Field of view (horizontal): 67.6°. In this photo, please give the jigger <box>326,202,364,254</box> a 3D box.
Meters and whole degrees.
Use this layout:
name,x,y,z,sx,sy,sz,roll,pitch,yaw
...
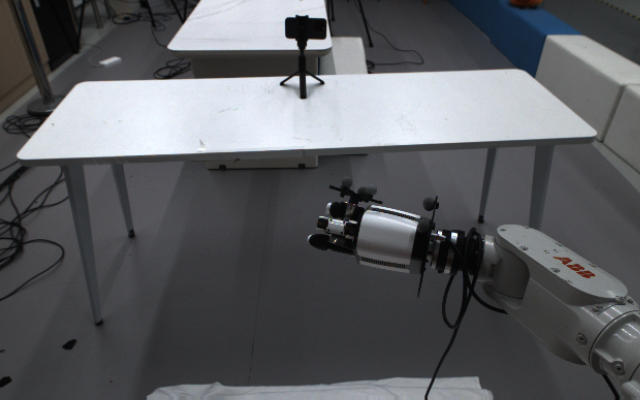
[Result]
name,x,y,z,sx,sy,sz,roll,pitch,yaw
jigger,0.042,0.039,0.767,0.043,0.071,0.043,19,-6,2
